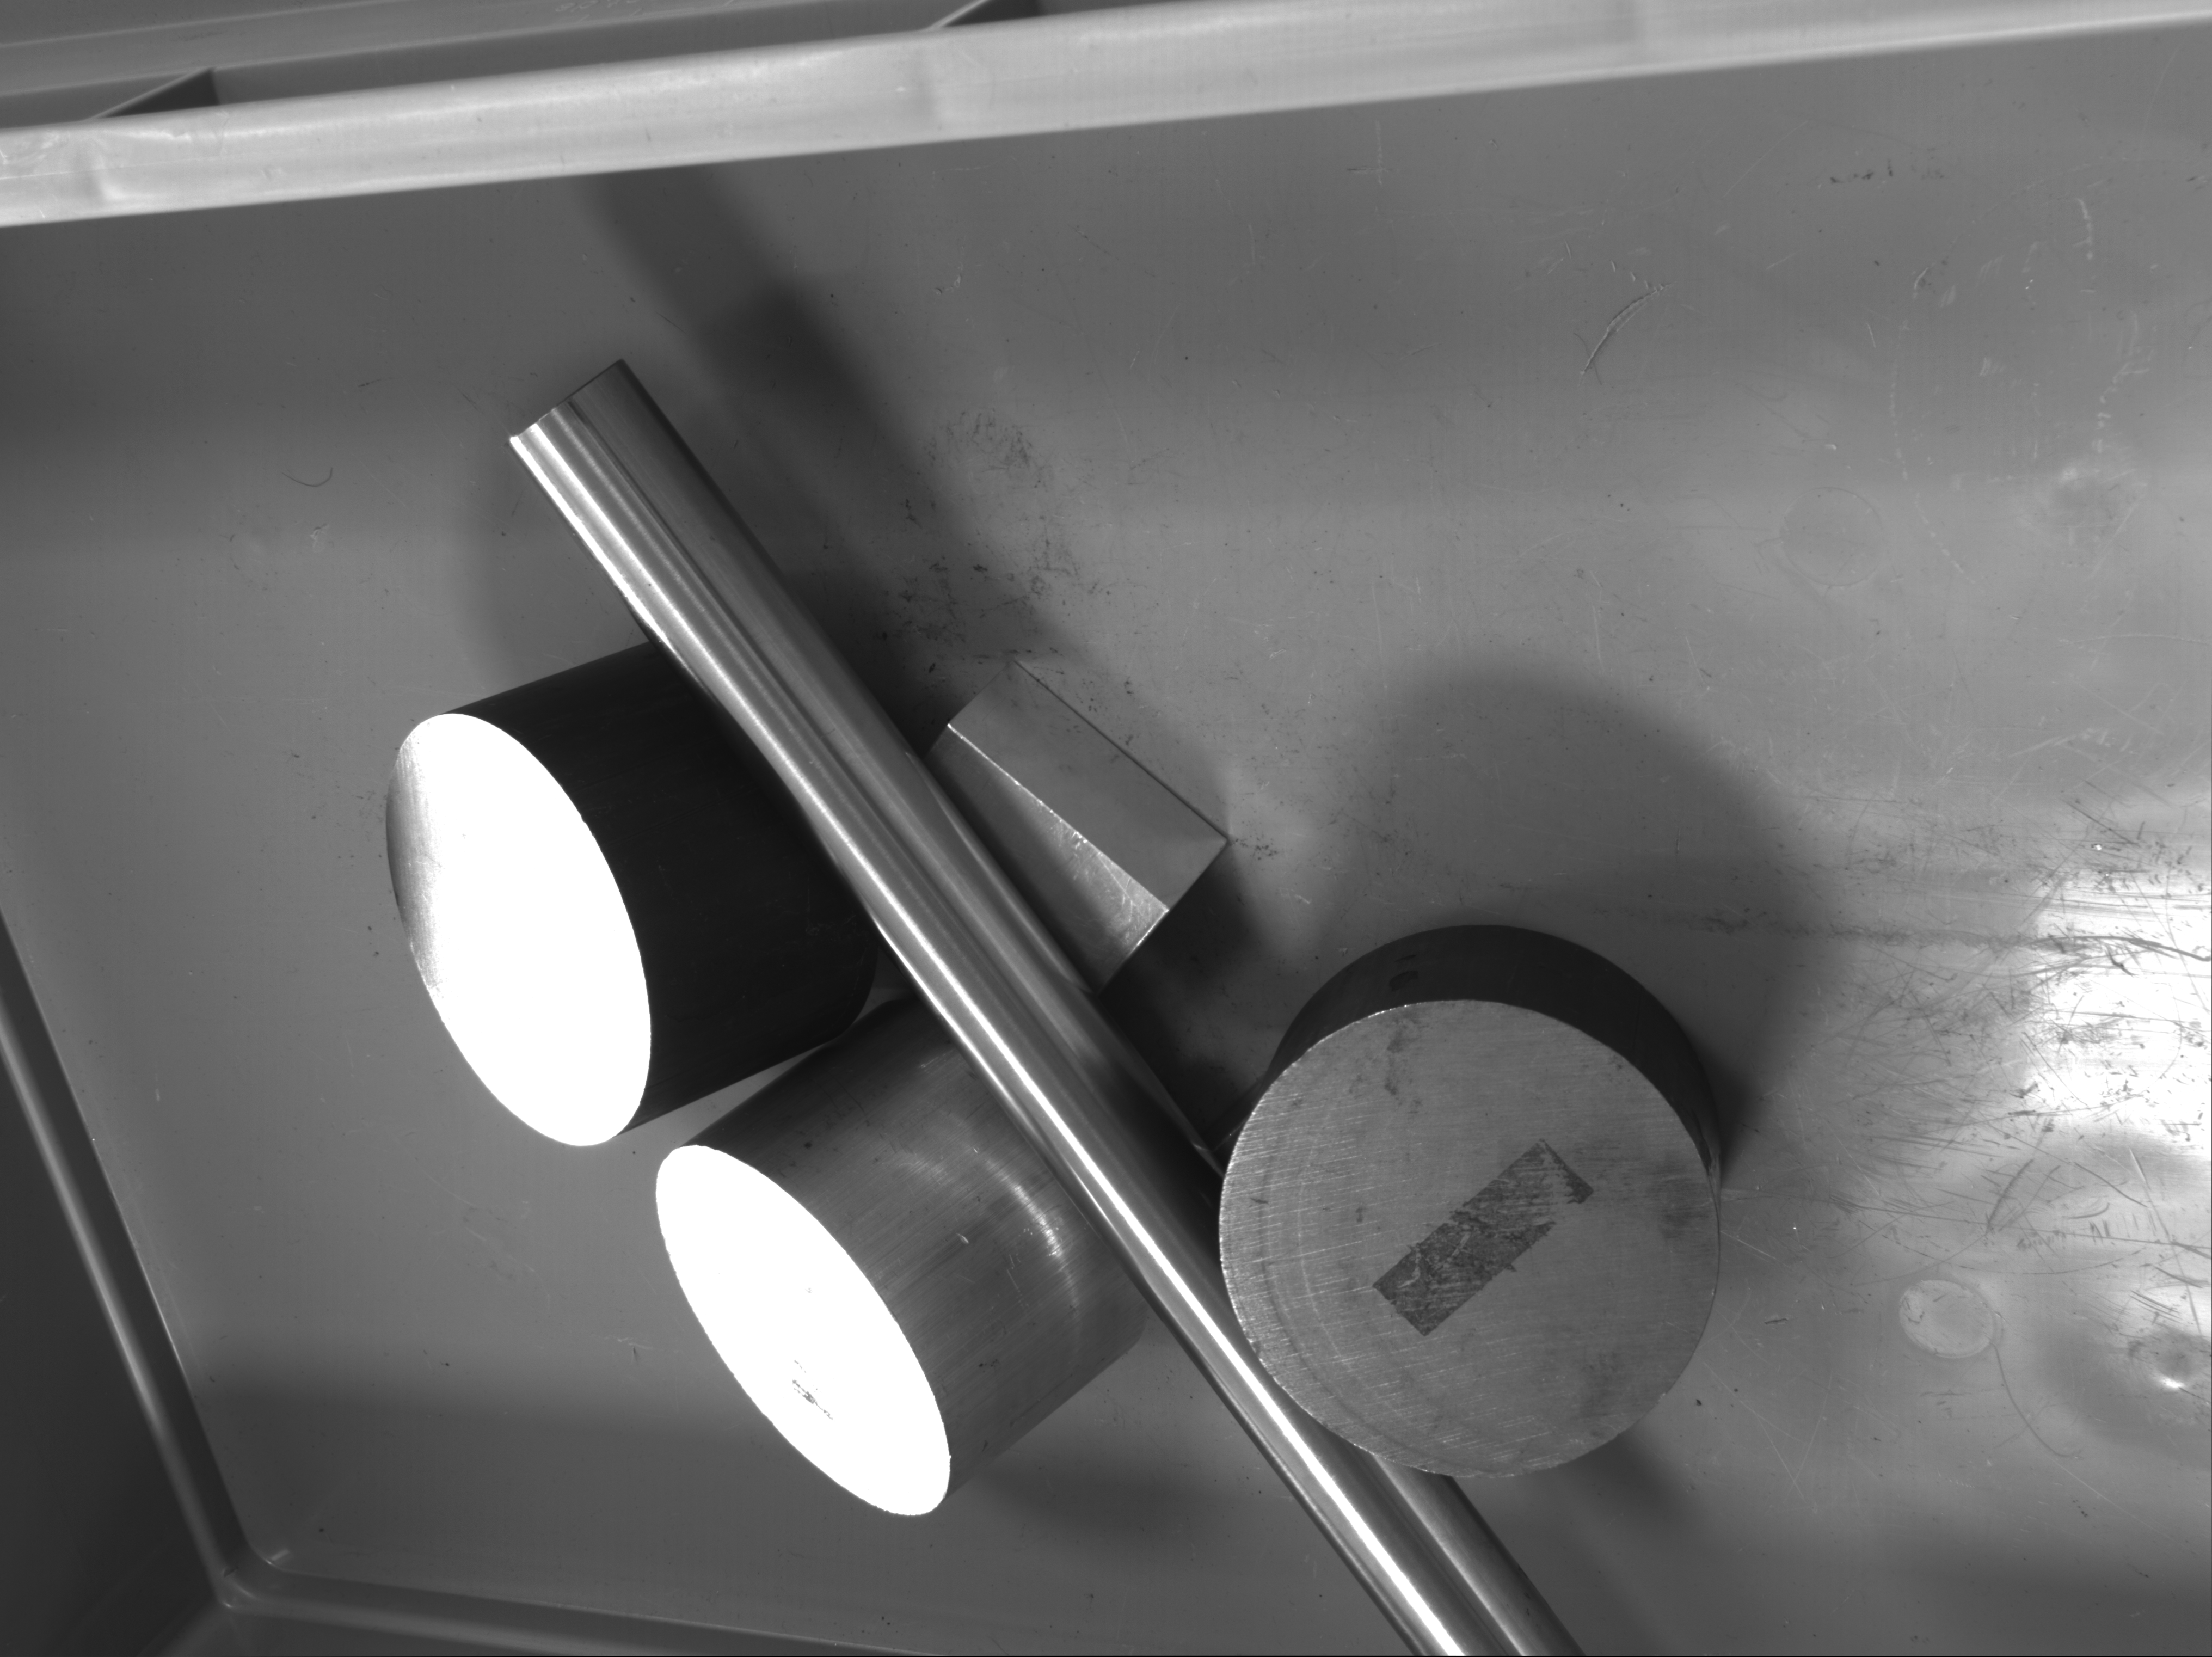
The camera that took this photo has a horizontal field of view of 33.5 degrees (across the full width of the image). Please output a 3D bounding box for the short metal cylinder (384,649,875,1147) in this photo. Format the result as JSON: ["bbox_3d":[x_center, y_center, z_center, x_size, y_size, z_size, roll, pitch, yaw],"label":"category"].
[{"bbox_3d":[-0.086,0.011,0.660,0.080,0.050,0.080,26,127,41],"label":"short metal cylinder"}]

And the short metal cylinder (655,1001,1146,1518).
[{"bbox_3d":[-0.038,0.079,0.676,0.080,0.050,0.080,35,144,30],"label":"short metal cylinder"}]

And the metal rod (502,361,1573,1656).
[{"bbox_3d":[-0.004,0.049,0.640,0.025,0.025,0.300,-28,102,37],"label":"metal rod"}]

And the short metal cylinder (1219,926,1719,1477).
[{"bbox_3d":[0.062,0.061,0.613,0.080,0.050,0.080,2,103,9],"label":"short metal cylinder"}]

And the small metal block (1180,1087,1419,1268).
[{"bbox_3d":[0.036,0.075,0.668,0.050,0.025,0.050,42,129,-1],"label":"small metal block"}]

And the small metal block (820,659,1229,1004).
[{"bbox_3d":[-0.015,0.007,0.654,0.050,0.025,0.050,40,129,1],"label":"small metal block"}]
